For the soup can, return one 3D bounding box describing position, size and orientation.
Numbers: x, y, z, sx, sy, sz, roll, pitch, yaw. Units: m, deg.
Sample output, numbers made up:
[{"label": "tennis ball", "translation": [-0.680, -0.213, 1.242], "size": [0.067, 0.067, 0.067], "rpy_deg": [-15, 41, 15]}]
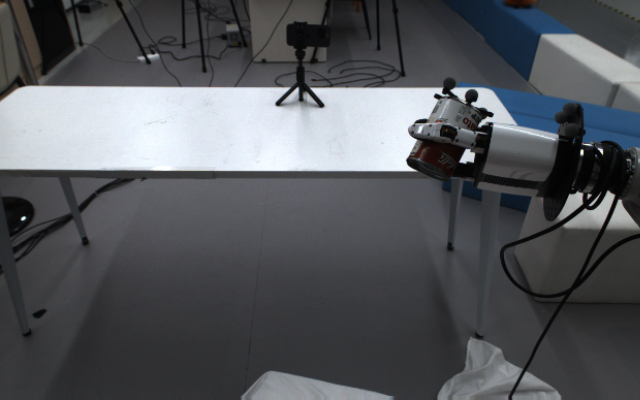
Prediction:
[{"label": "soup can", "translation": [0.176, -0.086, 0.682], "size": [0.067, 0.101, 0.067], "rpy_deg": [28, -2, 1]}]
